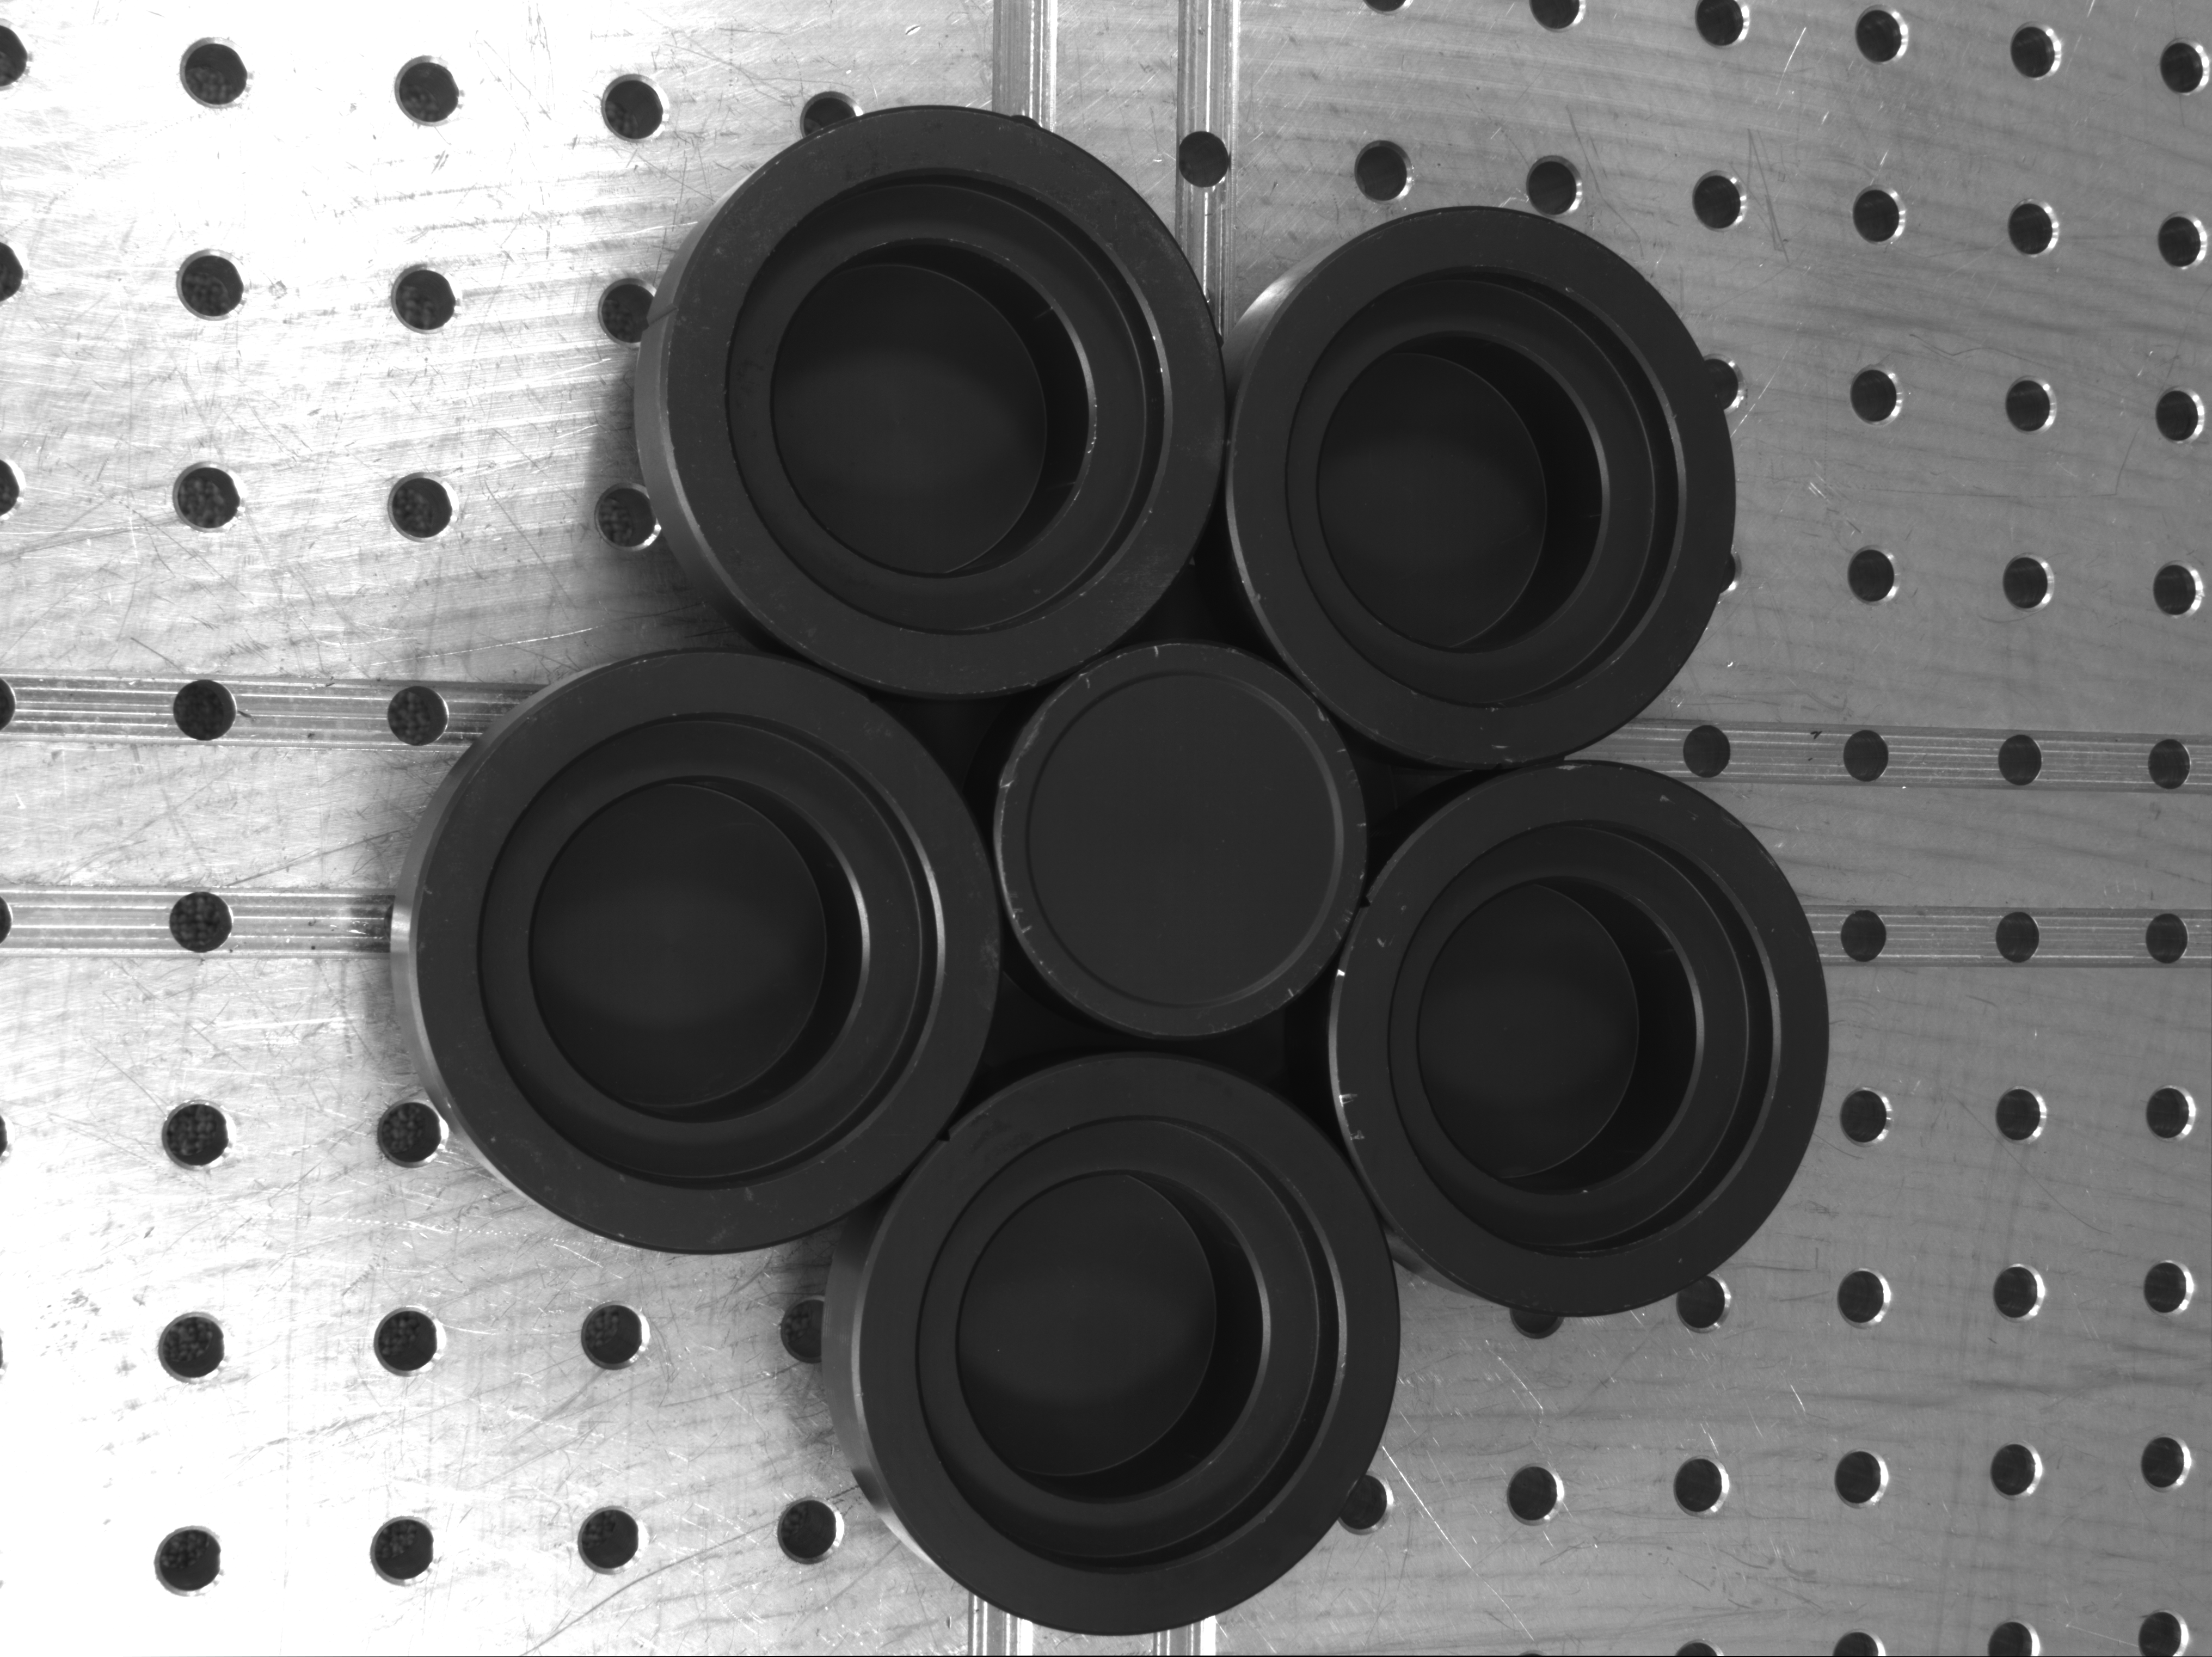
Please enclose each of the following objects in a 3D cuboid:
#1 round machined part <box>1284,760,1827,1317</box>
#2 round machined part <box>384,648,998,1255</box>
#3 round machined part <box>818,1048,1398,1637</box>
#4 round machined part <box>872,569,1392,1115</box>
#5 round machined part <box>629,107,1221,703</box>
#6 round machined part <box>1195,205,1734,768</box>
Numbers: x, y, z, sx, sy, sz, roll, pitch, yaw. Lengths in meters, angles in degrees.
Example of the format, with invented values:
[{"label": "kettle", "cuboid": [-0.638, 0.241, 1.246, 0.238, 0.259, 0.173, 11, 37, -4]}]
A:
[{"label": "round machined part", "cuboid": [0.077, 0.037, 0.665, 0.098, 0.042, 0.098, 0, 90, -20]}, {"label": "round machined part", "cuboid": [-0.071, 0.020, 0.611, 0.098, 0.042, 0.098, 0, 90, -20]}, {"label": "round machined part", "cuboid": [-0.003, 0.087, 0.635, 0.098, 0.042, 0.098, 0, 90, -20]}, {"label": "round machined part", "cuboid": [0.006, 0.002, 0.638, 0.098, 0.042, 0.098, 0, 90, -20]}, {"label": "round machined part", "cuboid": [-0.033, -0.070, 0.625, 0.098, 0.042, 0.098, 0, 90, -20]}, {"label": "round machined part", "cuboid": [0.059, -0.059, 0.658, 0.098, 0.042, 0.098, 0, 90, -20]}]
